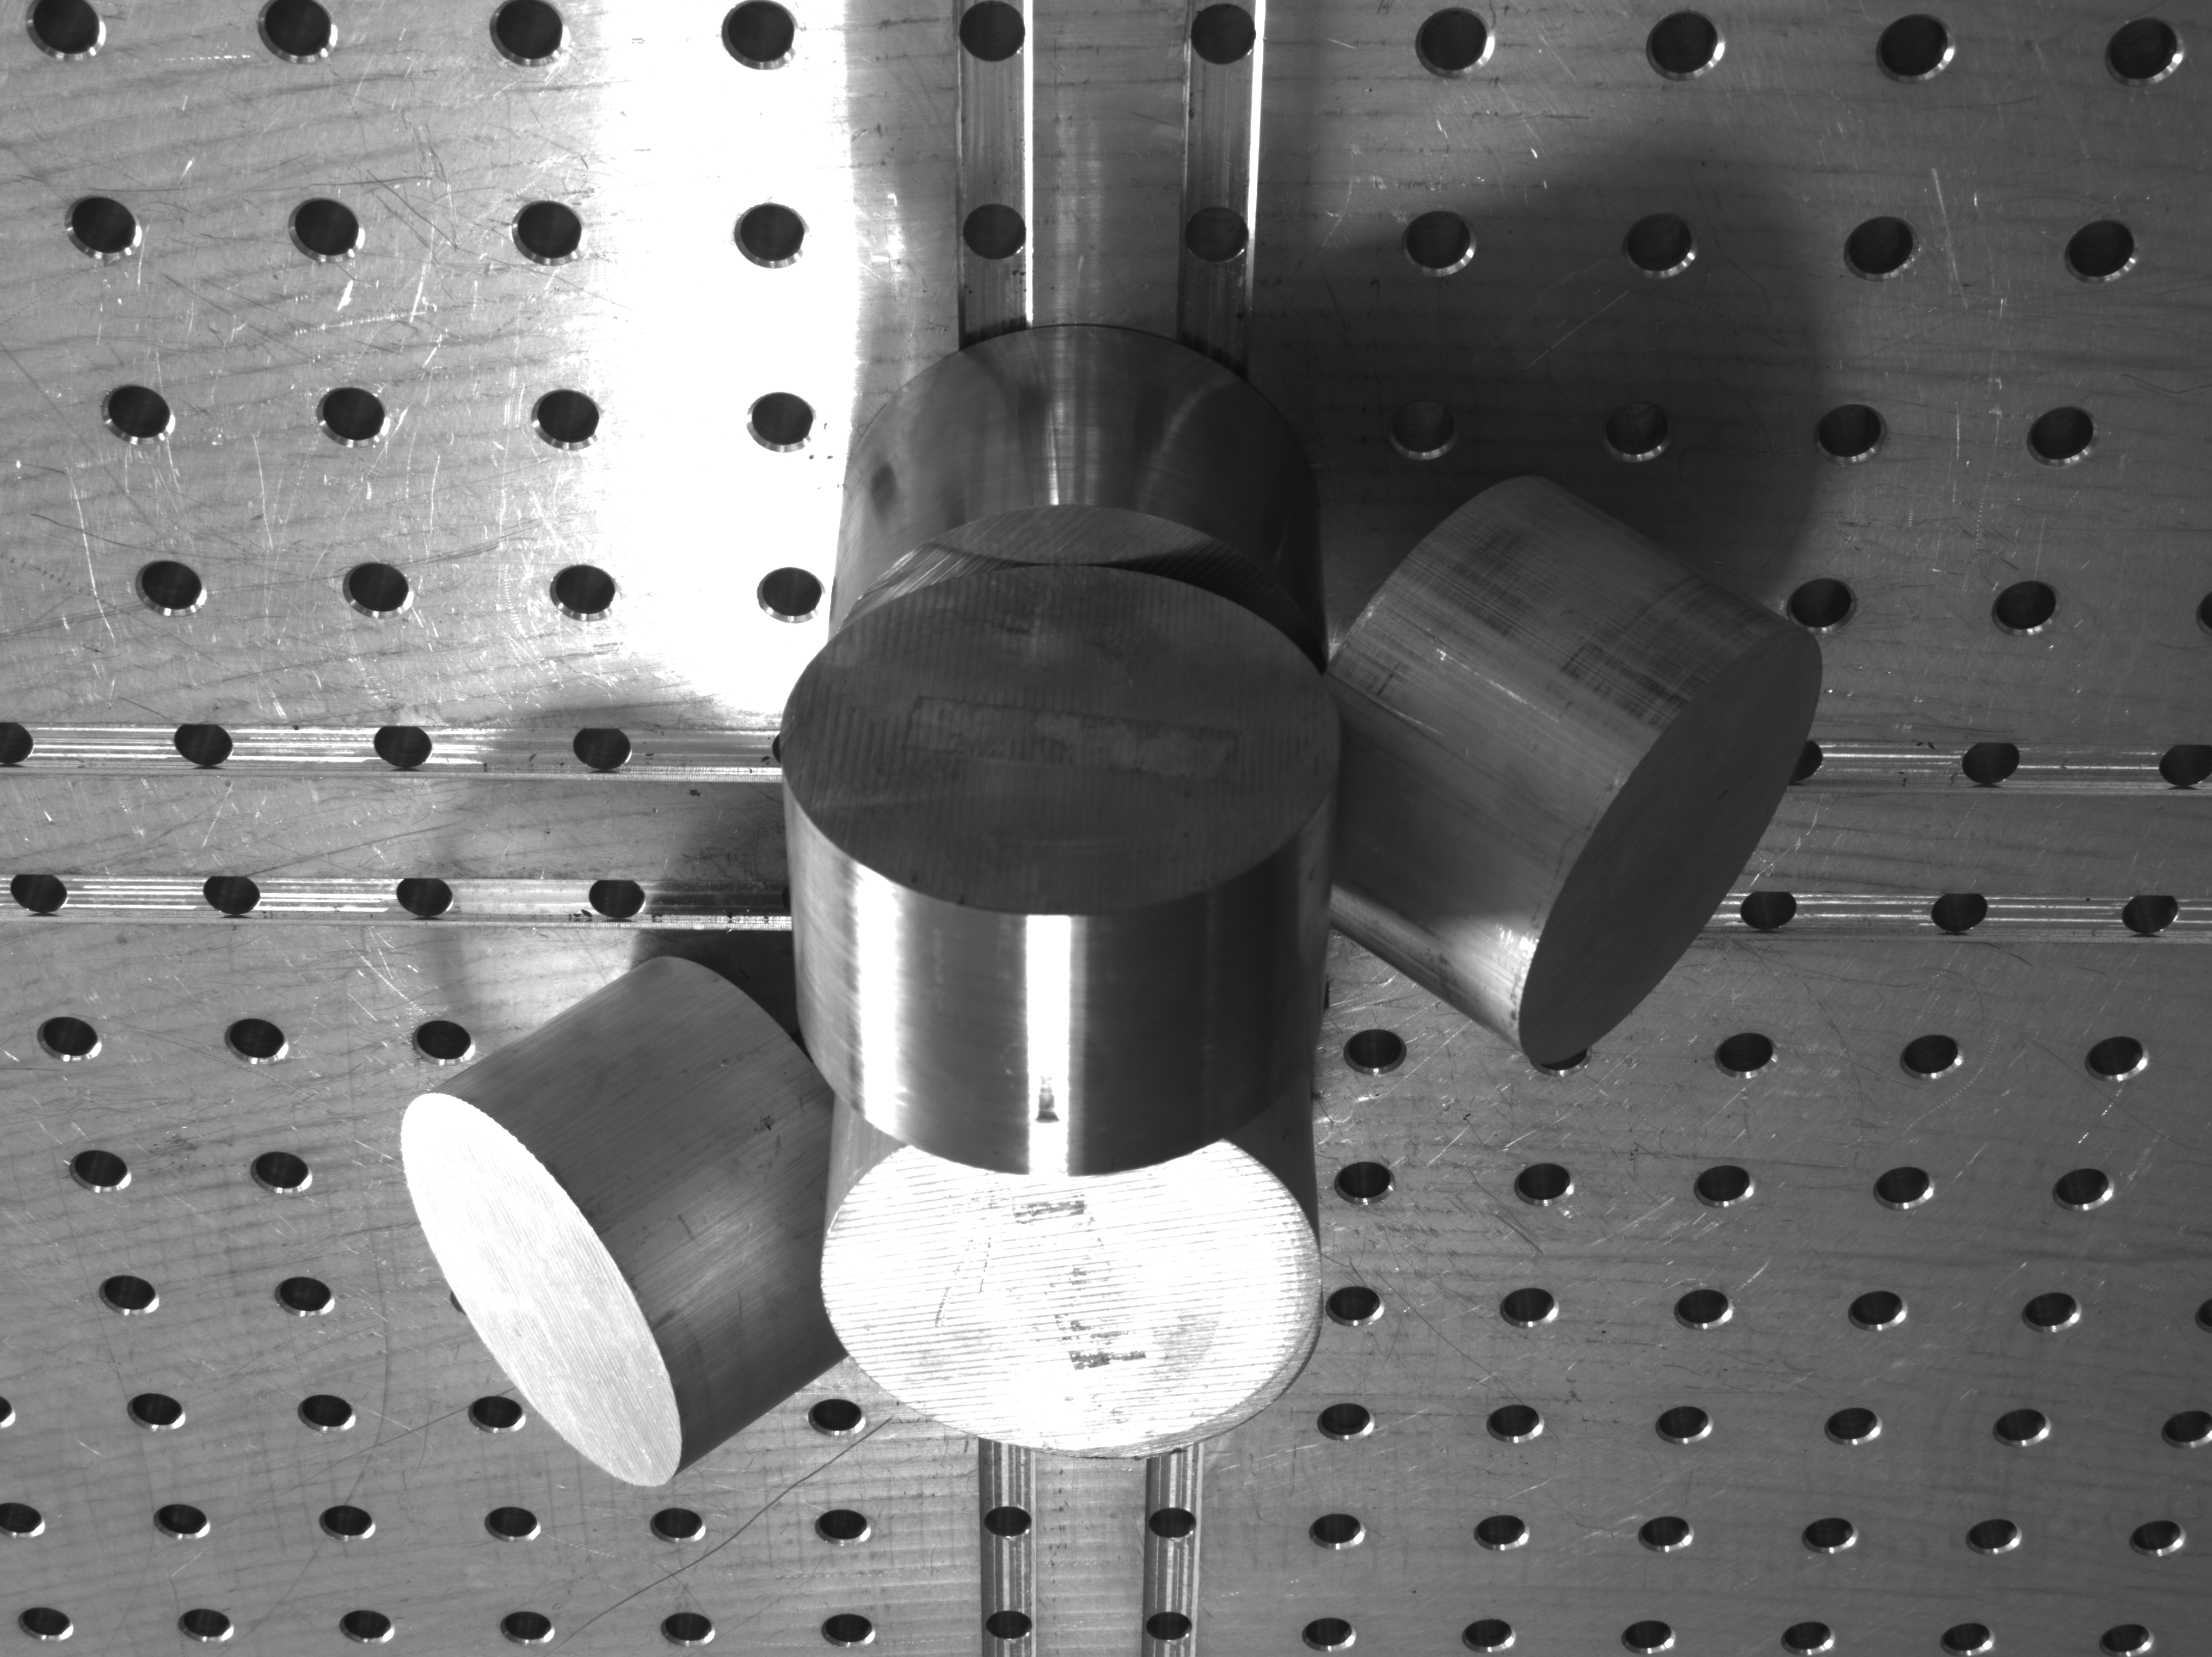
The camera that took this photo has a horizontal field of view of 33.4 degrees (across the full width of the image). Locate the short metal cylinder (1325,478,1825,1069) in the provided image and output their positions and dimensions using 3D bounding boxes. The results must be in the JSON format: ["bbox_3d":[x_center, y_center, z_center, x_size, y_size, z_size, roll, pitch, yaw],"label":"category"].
[{"bbox_3d":[0.071,-0.009,0.590,0.050,0.080,0.080,35,134,24],"label":"short metal cylinder"}]

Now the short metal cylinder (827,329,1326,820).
[{"bbox_3d":[-0.005,-0.033,0.597,0.080,0.050,0.080,0,130,0],"label":"short metal cylinder"}]

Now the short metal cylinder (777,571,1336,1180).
[{"bbox_3d":[-0.007,0.006,0.544,0.080,0.080,0.050,0,130,0],"label":"short metal cylinder"}]

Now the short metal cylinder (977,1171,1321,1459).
[{"bbox_3d":[-0.001,0.072,0.685,0.080,0.050,0.080,0,131,0],"label":"short metal cylinder"}]

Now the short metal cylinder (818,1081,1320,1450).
[{"bbox_3d":[-0.006,0.057,0.607,0.080,0.050,0.080,0,130,0],"label":"short metal cylinder"}]

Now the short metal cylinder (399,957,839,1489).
[{"bbox_3d":[-0.081,0.070,0.658,0.050,0.080,0.080,-33,138,-31],"label":"short metal cylinder"}]
